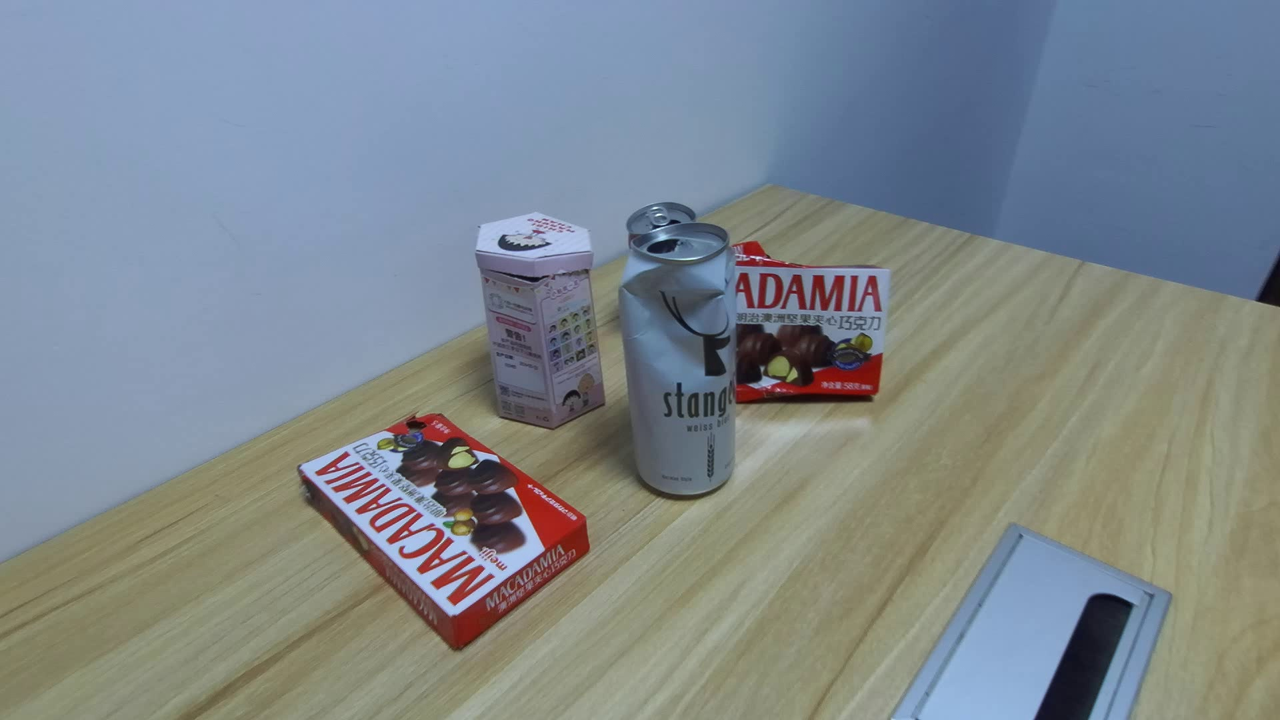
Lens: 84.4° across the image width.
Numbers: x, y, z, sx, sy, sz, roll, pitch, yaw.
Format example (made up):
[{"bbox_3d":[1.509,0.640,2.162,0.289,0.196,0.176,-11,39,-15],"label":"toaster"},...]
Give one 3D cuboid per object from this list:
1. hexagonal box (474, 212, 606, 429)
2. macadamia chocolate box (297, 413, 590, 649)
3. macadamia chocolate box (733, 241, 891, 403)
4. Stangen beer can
[{"bbox_3d":[-0.071,-0.028,0.508,0.092,0.135,0.085,12,36,22],"label":"hexagonal box"},{"bbox_3d":[-0.127,0.088,0.440,0.186,0.027,0.103,26,41,36],"label":"macadamia chocolate box"},{"bbox_3d":[0.114,-0.027,0.513,0.126,0.112,0.056,0,32,3],"label":"macadamia chocolate box"},{"bbox_3d":[0.025,0.003,0.425,0.066,0.166,0.066,3,34,10],"label":"Stangen beer can"}]
